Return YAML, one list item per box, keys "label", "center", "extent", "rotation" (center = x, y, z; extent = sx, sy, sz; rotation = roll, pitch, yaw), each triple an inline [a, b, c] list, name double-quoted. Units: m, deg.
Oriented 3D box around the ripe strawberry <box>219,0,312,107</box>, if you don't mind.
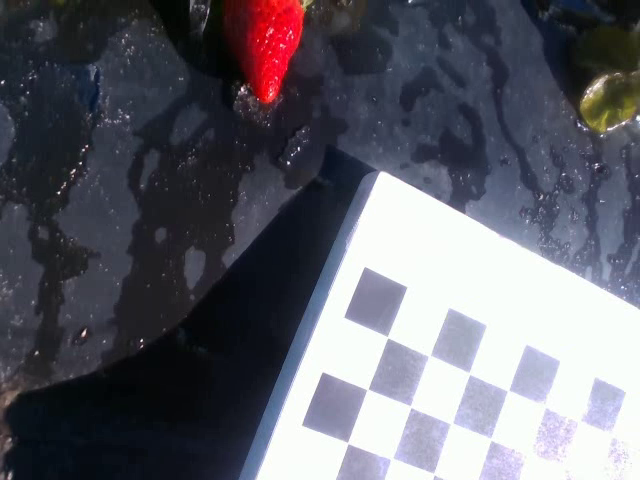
- label: "ripe strawberry"
  center: [-0.017, -0.080, 0.315]
  extent: [0.041, 0.052, 0.040]
  rotation: [7, -7, -25]
